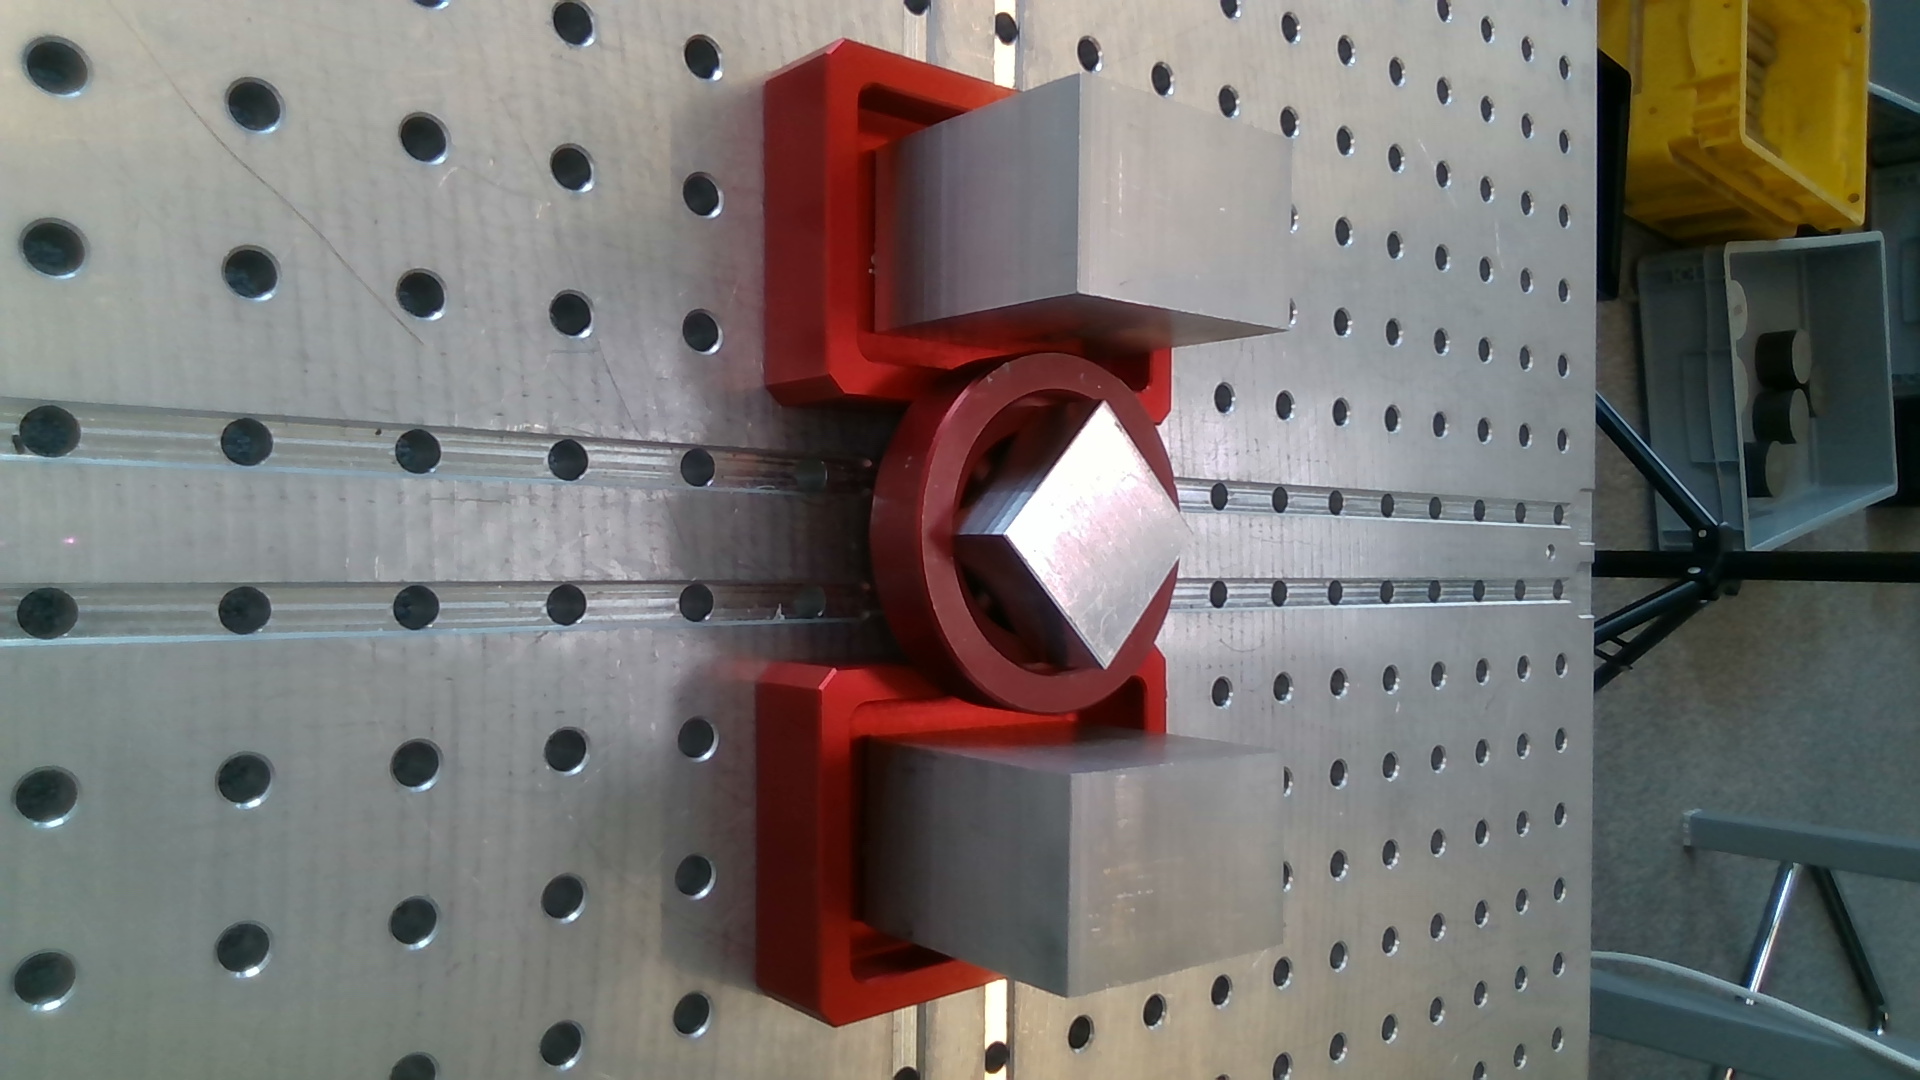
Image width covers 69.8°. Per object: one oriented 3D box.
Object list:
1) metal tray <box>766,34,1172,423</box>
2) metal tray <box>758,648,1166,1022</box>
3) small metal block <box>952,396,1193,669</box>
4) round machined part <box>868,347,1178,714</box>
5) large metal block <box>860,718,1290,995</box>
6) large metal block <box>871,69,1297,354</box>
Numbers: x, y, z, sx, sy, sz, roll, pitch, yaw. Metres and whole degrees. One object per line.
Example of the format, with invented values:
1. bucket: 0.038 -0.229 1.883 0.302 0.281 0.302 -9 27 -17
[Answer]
1. metal tray: 0.007 -0.082 0.396 0.130 0.030 0.090 1 90 -40
2. metal tray: 0.005 0.076 0.395 0.130 0.030 0.090 0 90 -40
3. small metal block: 0.029 -0.002 0.366 0.050 0.025 0.050 52 59 -27
4. round machined part: 0.013 -0.002 0.383 0.098 0.042 0.098 0 90 -40
5. large metal block: 0.030 0.079 0.366 0.080 0.080 0.050 2 89 -40
6. large metal block: 0.032 -0.081 0.368 0.080 0.080 0.050 1 89 -40
